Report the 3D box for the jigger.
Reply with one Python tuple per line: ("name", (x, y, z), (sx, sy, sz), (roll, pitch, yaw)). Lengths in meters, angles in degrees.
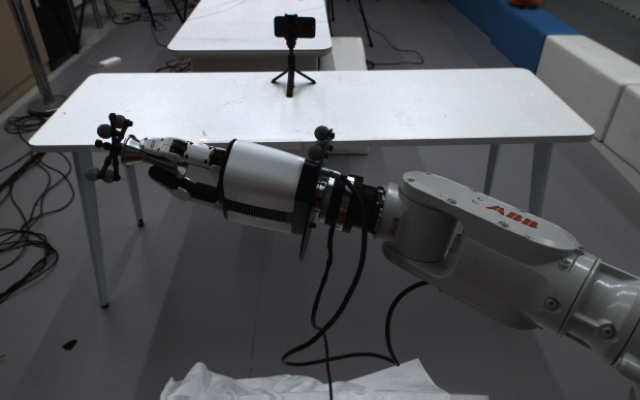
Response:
("jigger", (-0.191, -0.055, 0.582), (0.071, 0.043, 0.043), (11, 35, 1))
